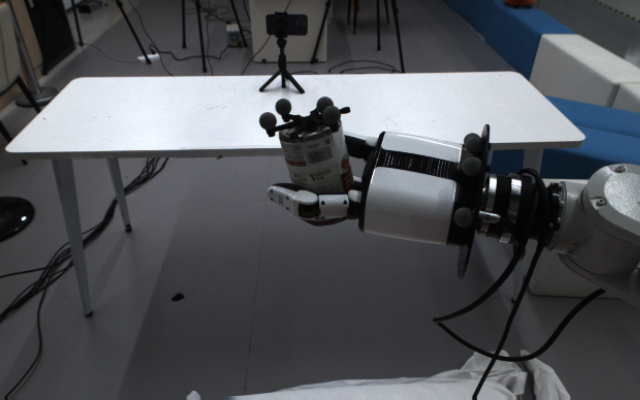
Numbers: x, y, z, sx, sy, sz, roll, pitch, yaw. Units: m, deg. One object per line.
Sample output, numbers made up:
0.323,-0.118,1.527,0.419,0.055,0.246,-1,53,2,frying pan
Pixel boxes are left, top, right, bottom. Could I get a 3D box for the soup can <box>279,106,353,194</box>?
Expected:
0.002,-0.032,0.516,0.067,0.101,0.067,-11,28,6,soup can
